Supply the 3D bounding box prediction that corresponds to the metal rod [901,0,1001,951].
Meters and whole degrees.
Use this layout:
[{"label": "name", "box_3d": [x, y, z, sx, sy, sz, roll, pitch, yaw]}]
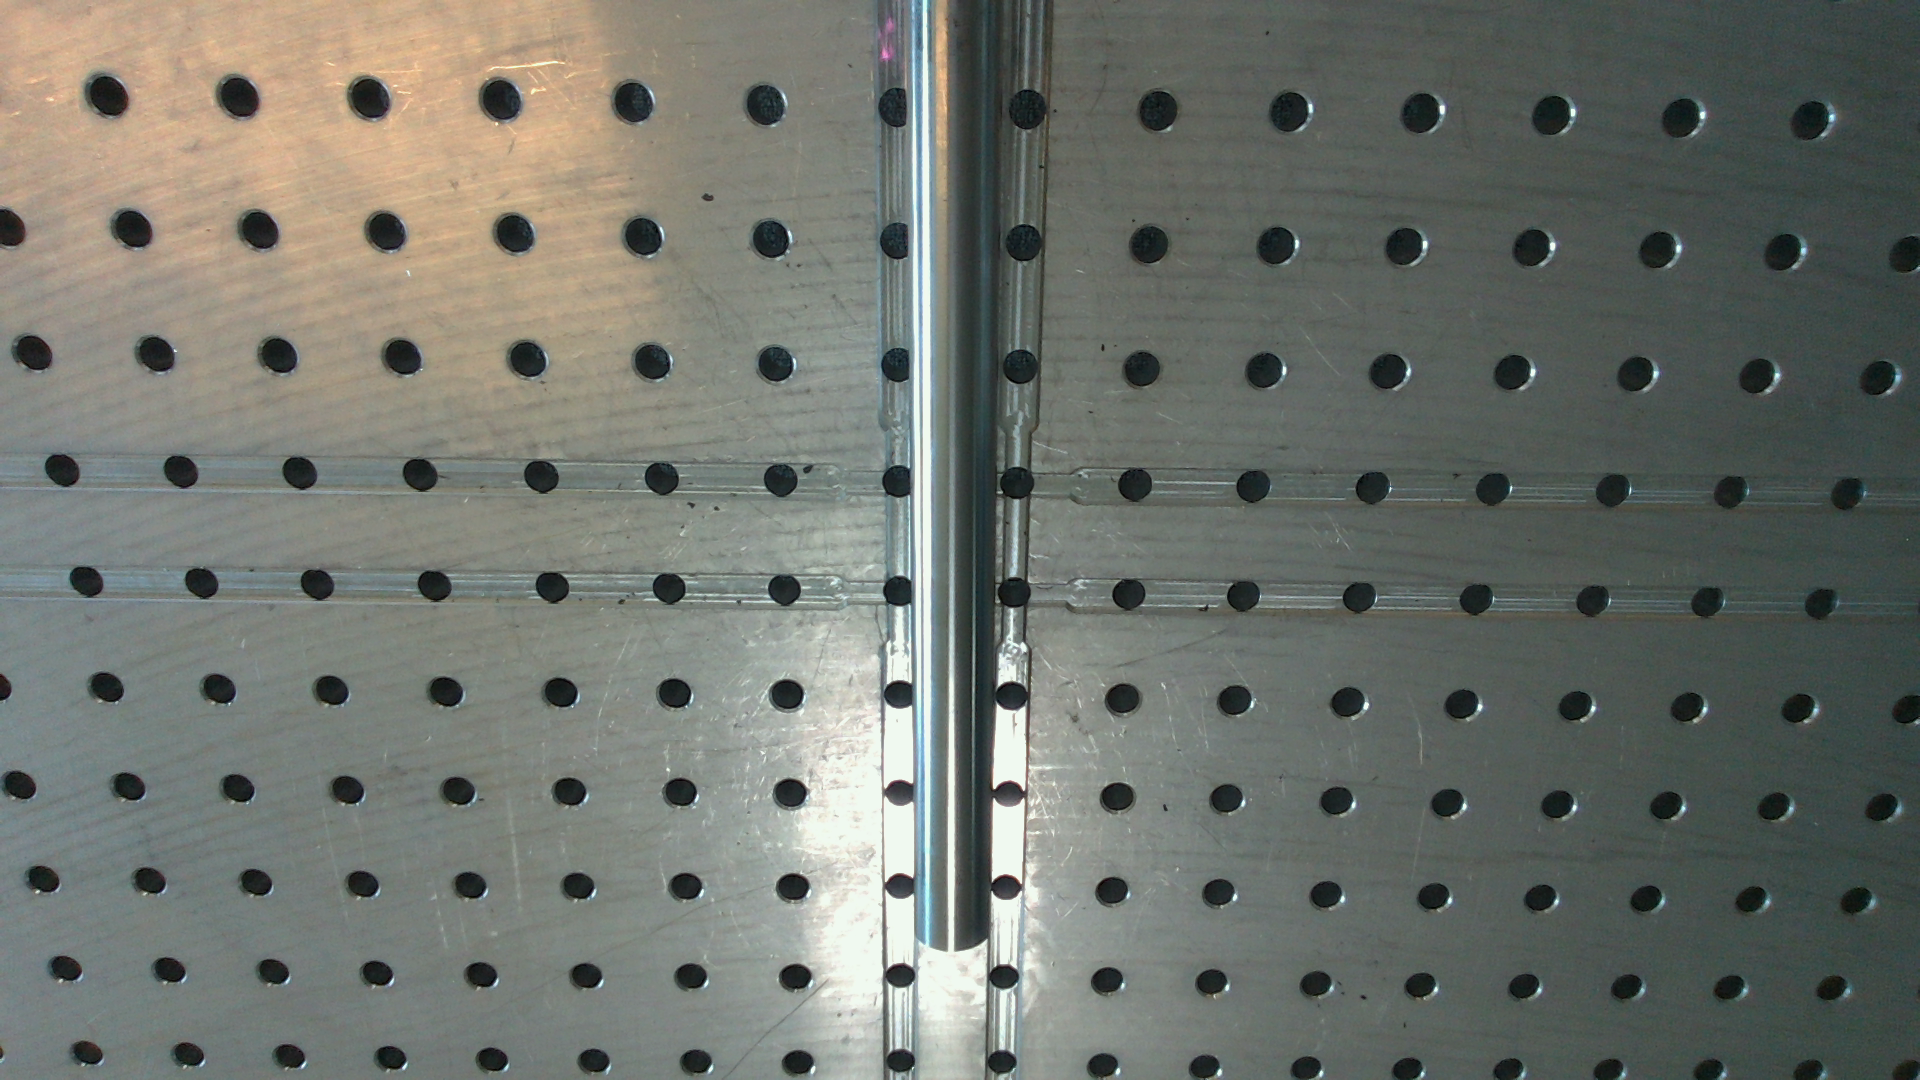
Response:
[{"label": "metal rod", "box_3d": [-0.003, -0.016, 0.391, 0.025, 0.025, 0.300, 0, 110, 0]}]
